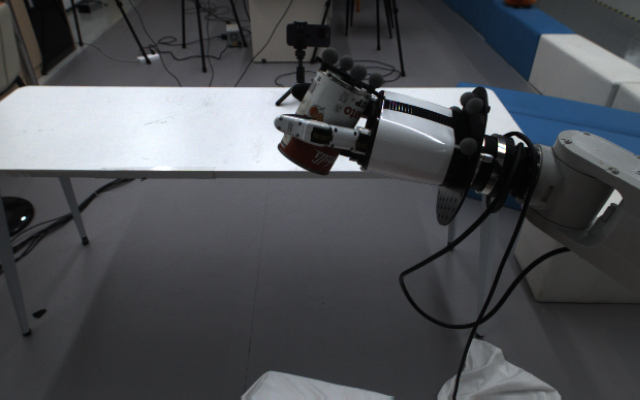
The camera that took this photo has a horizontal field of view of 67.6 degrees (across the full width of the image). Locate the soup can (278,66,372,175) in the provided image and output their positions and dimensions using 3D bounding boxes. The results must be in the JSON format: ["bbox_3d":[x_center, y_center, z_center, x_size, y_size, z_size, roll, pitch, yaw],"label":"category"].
[{"bbox_3d":[0.006,-0.087,0.543,0.067,0.101,0.067,27,18,-9],"label":"soup can"}]
